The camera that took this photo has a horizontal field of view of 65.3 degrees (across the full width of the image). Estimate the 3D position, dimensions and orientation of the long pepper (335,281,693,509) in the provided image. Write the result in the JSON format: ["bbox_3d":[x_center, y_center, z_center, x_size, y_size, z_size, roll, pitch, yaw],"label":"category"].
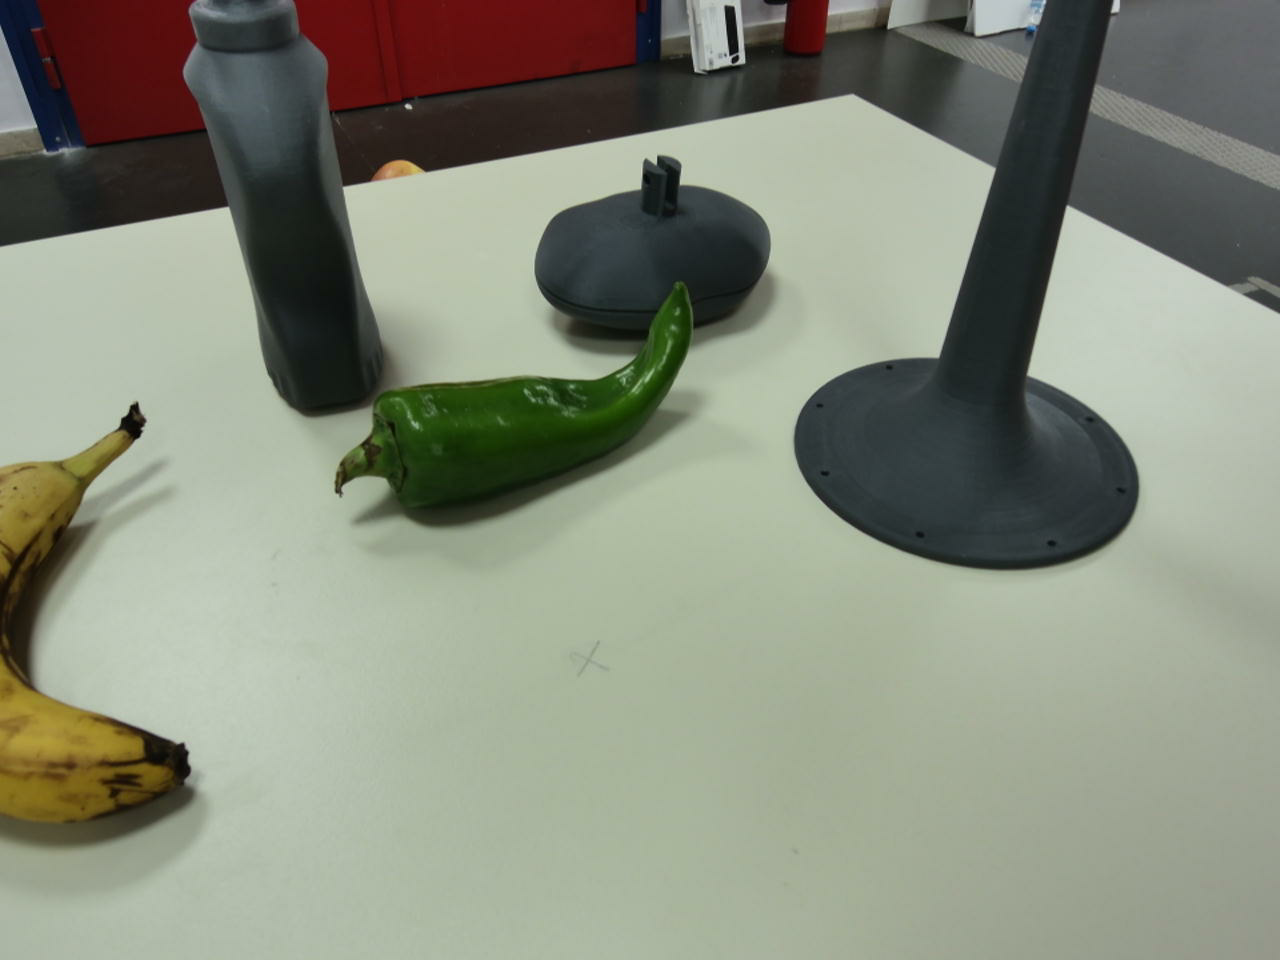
[{"bbox_3d":[-0.048,-0.034,0.432,0.175,0.065,0.058,-18,42,-23],"label":"long pepper"}]
